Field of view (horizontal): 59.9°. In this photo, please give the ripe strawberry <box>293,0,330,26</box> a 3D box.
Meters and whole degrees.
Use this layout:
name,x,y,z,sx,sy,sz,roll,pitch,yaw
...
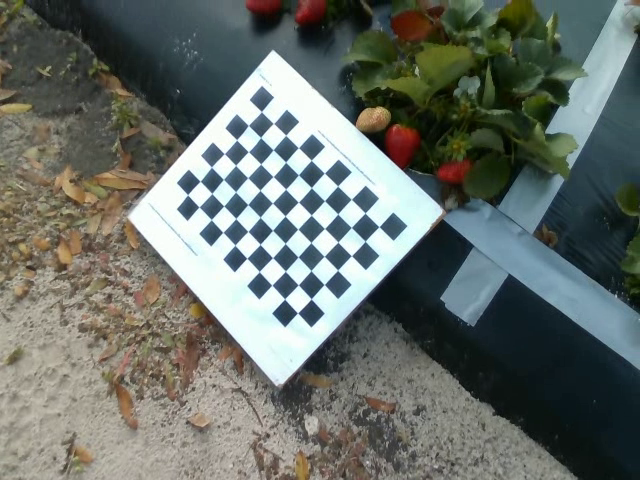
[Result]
name,x,y,z,sx,sy,sz,roll,pitch,yaw
ripe strawberry,-0.020,-0.302,0.719,0.042,0.053,0.034,28,-31,18
